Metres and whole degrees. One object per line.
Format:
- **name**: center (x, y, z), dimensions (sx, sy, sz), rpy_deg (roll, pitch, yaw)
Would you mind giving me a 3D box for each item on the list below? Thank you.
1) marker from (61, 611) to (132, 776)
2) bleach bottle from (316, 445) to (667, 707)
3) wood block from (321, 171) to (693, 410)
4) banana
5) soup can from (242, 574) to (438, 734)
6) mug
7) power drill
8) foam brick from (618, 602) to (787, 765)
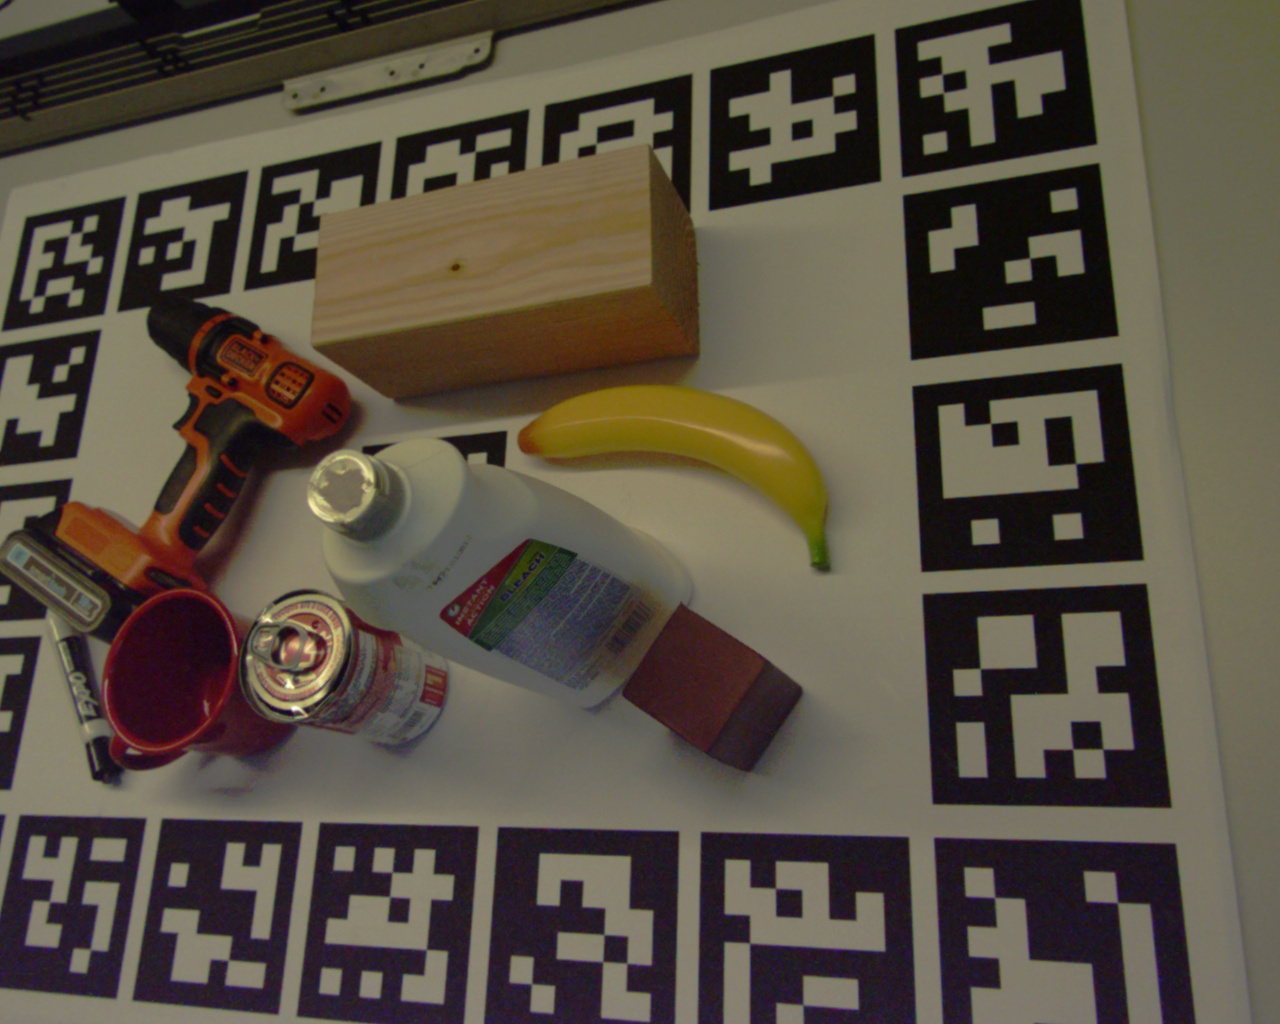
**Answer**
- **marker**: center (-0.362, 0.120, 0.760), dimensions (0.020, 0.019, 0.122), rpy_deg (-34, 65, 9)
- **bleach bottle**: center (-0.068, 0.024, 0.549), dimensions (0.069, 0.248, 0.102), rpy_deg (27, 82, 26)
- **wood block**: center (-0.079, -0.131, 0.697), dimensions (0.208, 0.090, 0.090), rpy_deg (-5, 72, 19)
- **banana**: center (0.002, -0.045, 0.661), dimensions (0.199, 0.038, 0.074), rpy_deg (12, 91, 22)
- **soup can**: center (-0.165, 0.083, 0.642), dimensions (0.068, 0.101, 0.068), rpy_deg (-7, 66, 16)
- **mug**: center (-0.263, 0.099, 0.691), dimensions (0.094, 0.080, 0.117), rpy_deg (42, 93, 25)
- **power drill**: center (-0.298, -0.031, 0.769), dimensions (0.186, 0.057, 0.187), rpy_deg (27, 82, 23)
- **foam brick**: center (0.034, 0.089, 0.586), dimensions (0.053, 0.077, 0.051), rpy_deg (32, 83, 28)
